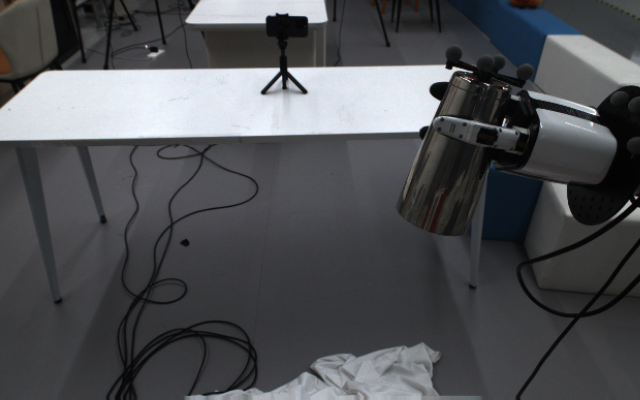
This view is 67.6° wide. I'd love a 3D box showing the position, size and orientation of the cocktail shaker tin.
[{"bbox_3d":[0.161,-0.058,0.561,0.093,0.170,0.093,12,25,-6],"label":"cocktail shaker tin"}]
